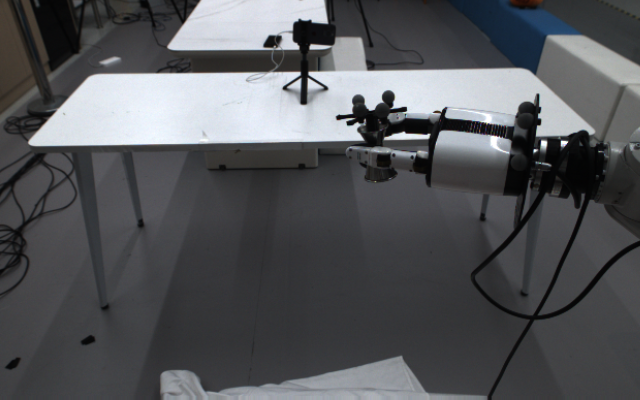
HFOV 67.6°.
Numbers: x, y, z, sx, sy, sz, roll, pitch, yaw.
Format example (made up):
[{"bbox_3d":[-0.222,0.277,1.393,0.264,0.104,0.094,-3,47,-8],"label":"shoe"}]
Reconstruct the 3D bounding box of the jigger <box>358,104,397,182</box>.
[{"bbox_3d":[0.075,-0.064,0.629,0.043,0.071,0.043,-11,23,5],"label":"jigger"}]
